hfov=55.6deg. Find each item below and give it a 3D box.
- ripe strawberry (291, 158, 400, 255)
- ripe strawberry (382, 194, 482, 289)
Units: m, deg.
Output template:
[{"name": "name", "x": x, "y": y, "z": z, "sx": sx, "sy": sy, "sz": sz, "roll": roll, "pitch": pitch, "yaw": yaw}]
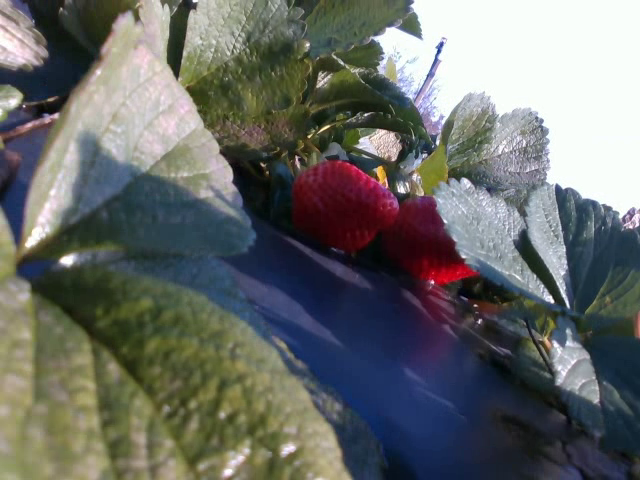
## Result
[{"name": "ripe strawberry", "x": 0.011, "y": -0.013, "z": 0.222, "sx": 0.043, "sy": 0.037, "sz": 0.051, "roll": -25, "pitch": 29, "yaw": -39}, {"name": "ripe strawberry", "x": 0.055, "y": 0.003, "z": 0.252, "sx": 0.052, "sy": 0.046, "sz": 0.057, "roll": -14, "pitch": 20, "yaw": -36}]
